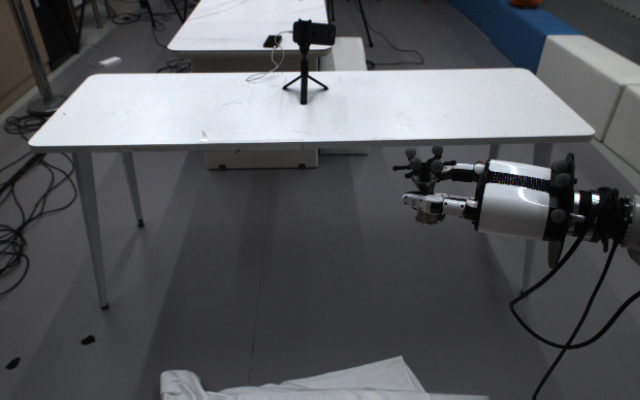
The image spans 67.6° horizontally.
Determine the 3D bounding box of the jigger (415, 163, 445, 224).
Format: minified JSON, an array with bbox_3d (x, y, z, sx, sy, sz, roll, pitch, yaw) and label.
[{"bbox_3d":[0.160,-0.007,0.719,0.043,0.071,0.043,-11,23,5],"label":"jigger"}]
